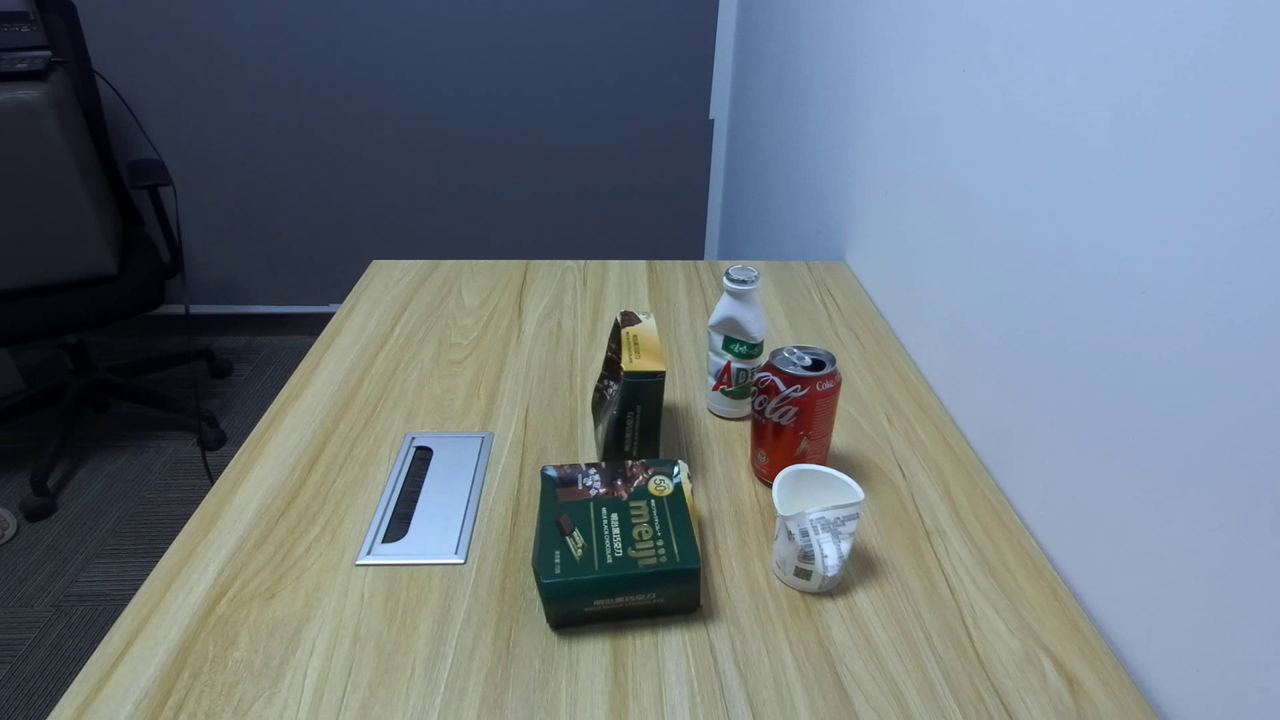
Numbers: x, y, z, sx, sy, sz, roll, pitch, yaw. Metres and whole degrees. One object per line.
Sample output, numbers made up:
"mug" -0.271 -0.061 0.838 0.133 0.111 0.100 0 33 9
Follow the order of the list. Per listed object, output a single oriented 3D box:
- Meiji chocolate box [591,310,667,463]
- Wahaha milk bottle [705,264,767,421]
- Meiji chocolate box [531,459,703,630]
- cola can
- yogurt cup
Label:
"Meiji chocolate box" -0.008 0.029 0.623 0.052 0.117 0.117 4 31 -11
"Wahaha milk bottle" 0.090 -0.016 0.660 0.056 0.148 0.056 1 34 0
"Meiji chocolate box" -0.016 0.132 0.516 0.123 0.058 0.115 -4 35 -5
"cola can" 0.129 0.049 0.591 0.072 0.117 0.065 -5 32 -10
"yogurt cup" 0.124 0.123 0.512 0.067 0.070 0.067 -2 31 1
